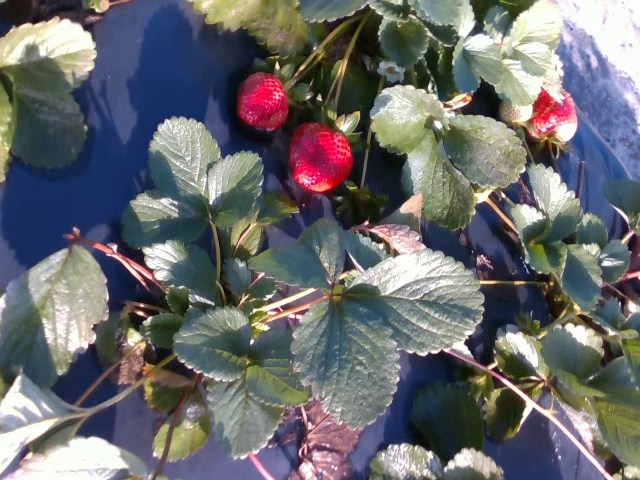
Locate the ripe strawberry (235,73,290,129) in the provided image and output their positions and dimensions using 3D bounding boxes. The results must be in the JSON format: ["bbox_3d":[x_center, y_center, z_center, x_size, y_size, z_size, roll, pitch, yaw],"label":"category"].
[{"bbox_3d":[-0.042,-0.090,0.405,0.043,0.051,0.036,12,-42,11],"label":"ripe strawberry"}]

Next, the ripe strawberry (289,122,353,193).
[{"bbox_3d":[-0.003,-0.051,0.408,0.052,0.046,0.057,21,47,10],"label":"ripe strawberry"}]
